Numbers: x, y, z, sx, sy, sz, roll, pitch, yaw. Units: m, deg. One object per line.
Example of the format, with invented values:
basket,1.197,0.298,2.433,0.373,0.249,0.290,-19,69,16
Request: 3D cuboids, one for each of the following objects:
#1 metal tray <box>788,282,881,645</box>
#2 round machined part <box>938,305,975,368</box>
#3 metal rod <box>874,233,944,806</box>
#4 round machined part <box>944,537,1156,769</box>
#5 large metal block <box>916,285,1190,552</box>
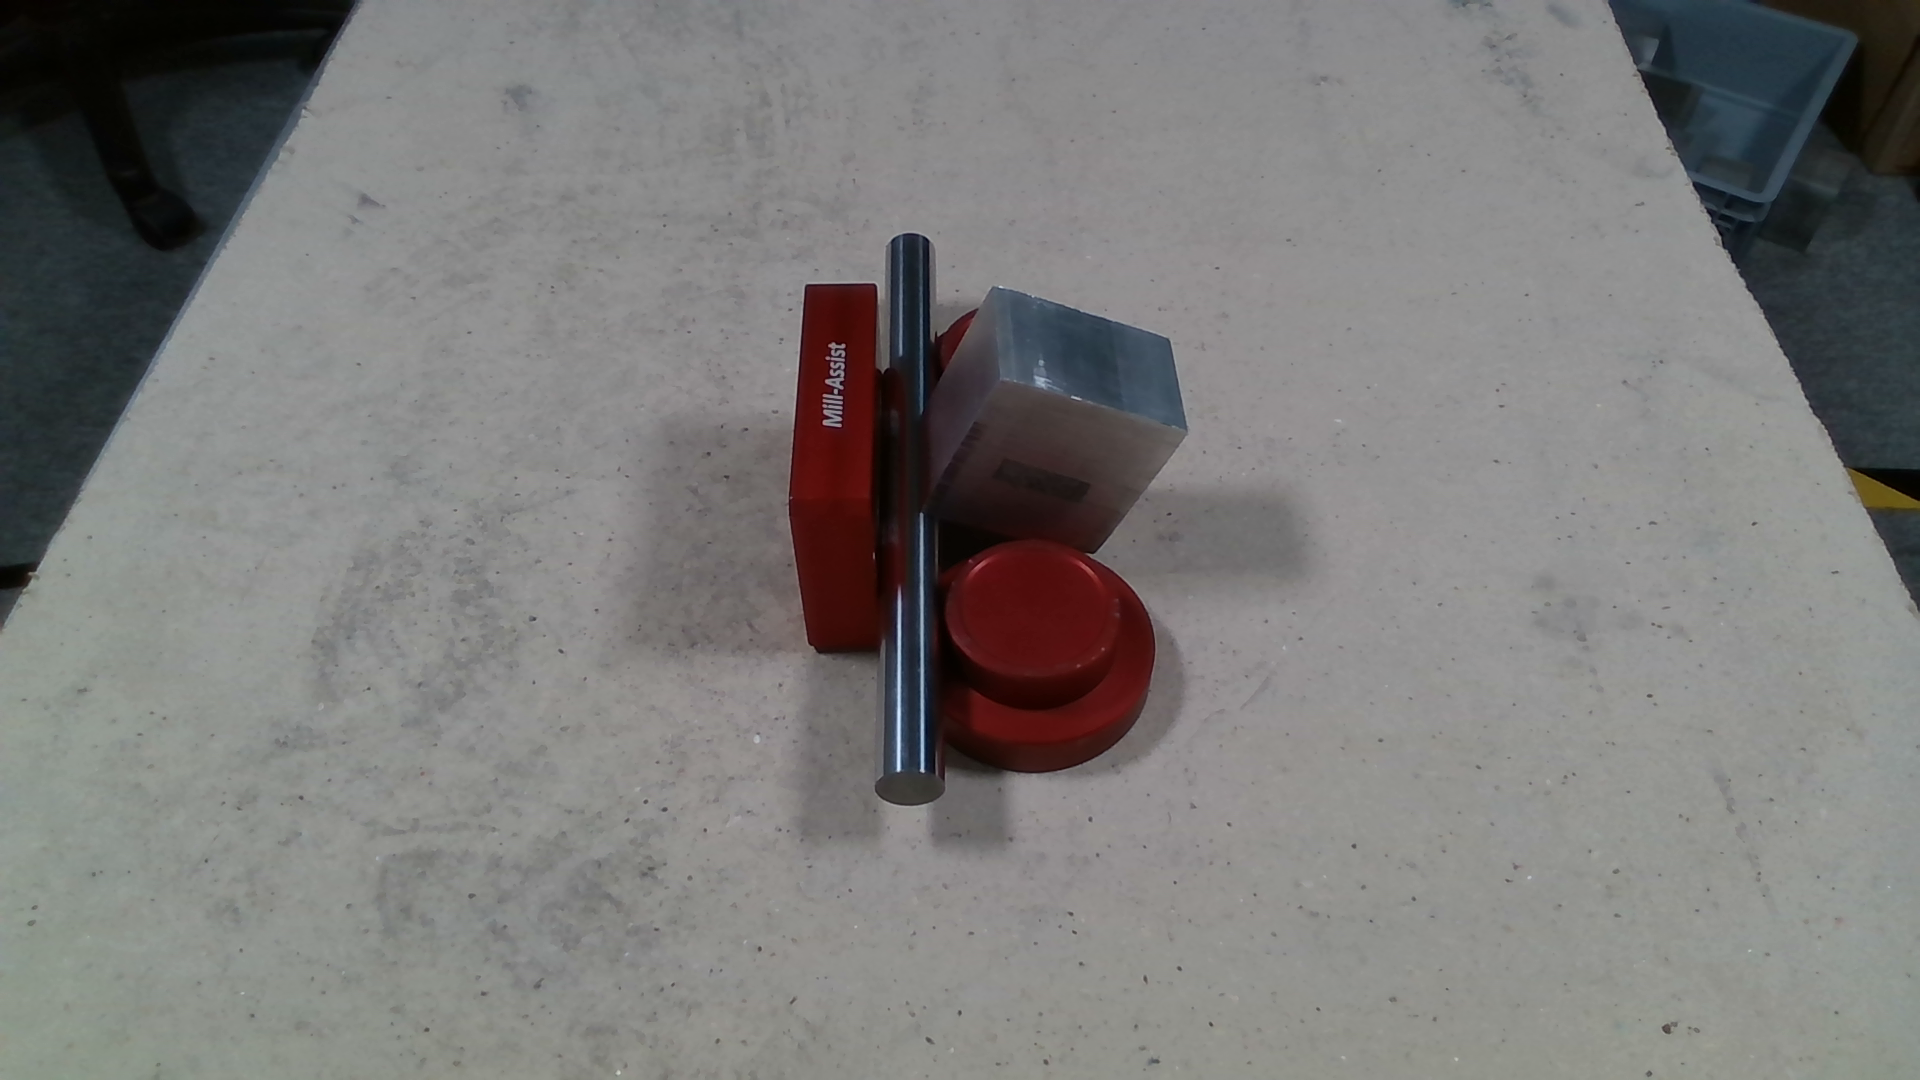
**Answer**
metal tray,-0.049,-0.033,0.572,0.030,0.090,0.130,-1,50,-1
round machined part,0.024,-0.074,0.636,0.098,0.042,0.098,0,50,0
metal rod,-0.021,-0.027,0.583,0.025,0.025,0.299,-1,50,-1
round machined part,0.028,0.038,0.544,0.098,0.042,0.098,0,50,0
large metal block,0.034,-0.046,0.555,0.080,0.080,0.050,14,48,-19
